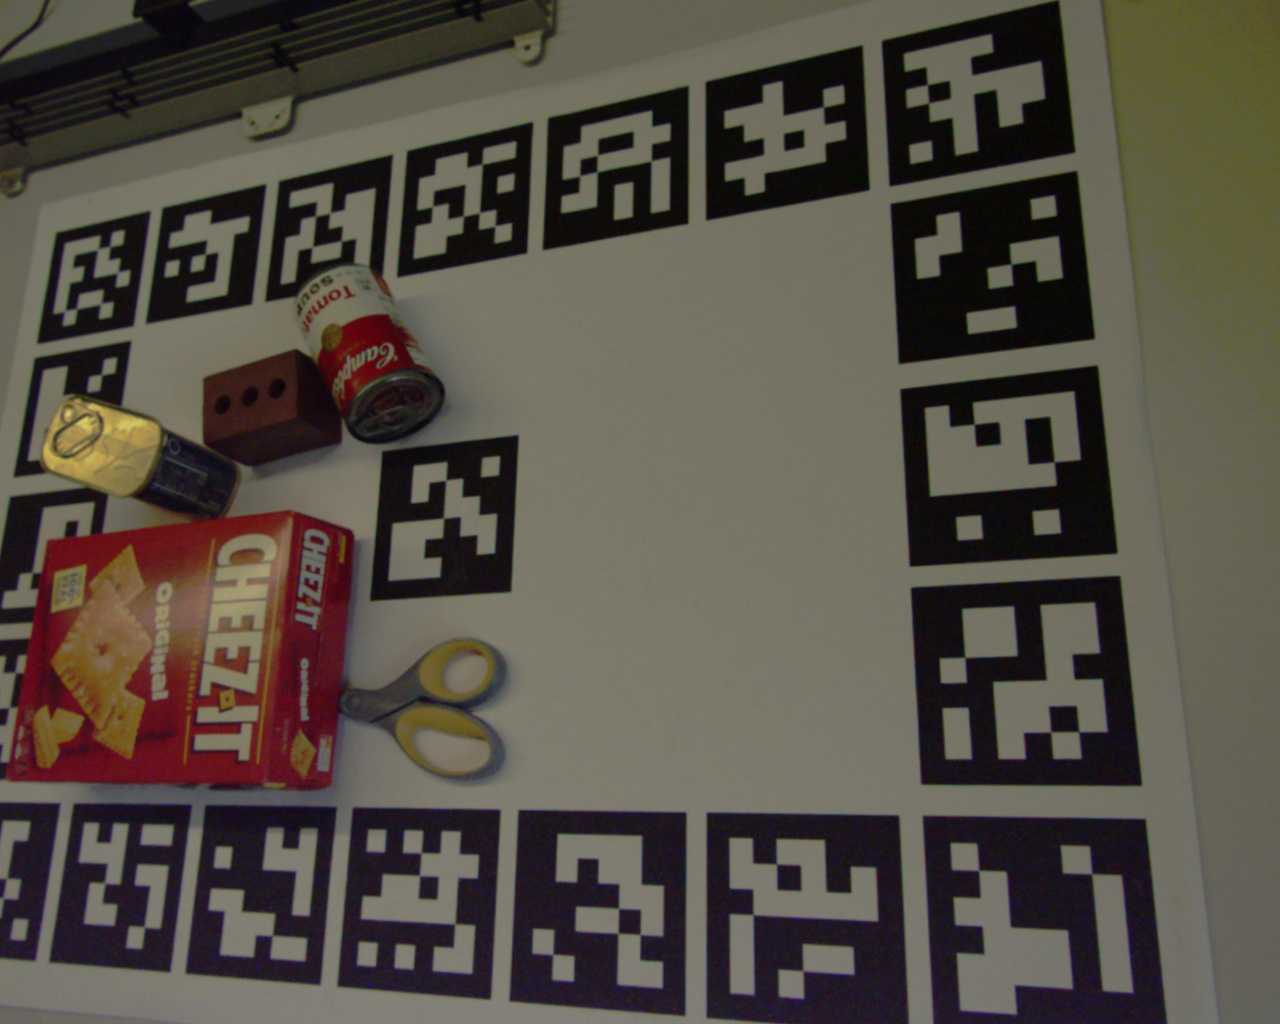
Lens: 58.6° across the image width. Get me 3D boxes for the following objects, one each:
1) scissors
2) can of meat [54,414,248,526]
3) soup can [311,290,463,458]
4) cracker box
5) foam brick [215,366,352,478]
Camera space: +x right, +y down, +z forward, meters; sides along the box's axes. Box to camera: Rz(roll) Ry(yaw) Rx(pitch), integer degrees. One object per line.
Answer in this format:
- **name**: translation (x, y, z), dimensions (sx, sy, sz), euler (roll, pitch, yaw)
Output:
- **scissors**: translation (-0.182, 0.135, 0.734), dimensions (0.204, 0.015, 0.088), euler (-10, 74, 20)
- **can of meat**: translation (-0.347, -0.027, 0.817), dimensions (0.103, 0.083, 0.058), euler (10, 81, 23)
- **soup can**: translation (-0.175, -0.096, 0.782), dimensions (0.068, 0.067, 0.103), euler (-42, 60, 8)
- **cracker box**: translation (-0.301, 0.103, 0.757), dimensions (0.216, 0.071, 0.164), euler (-11, 72, 23)
- **foam brick**: translation (-0.251, -0.062, 0.806), dimensions (0.078, 0.051, 0.053), euler (-16, 72, 18)
